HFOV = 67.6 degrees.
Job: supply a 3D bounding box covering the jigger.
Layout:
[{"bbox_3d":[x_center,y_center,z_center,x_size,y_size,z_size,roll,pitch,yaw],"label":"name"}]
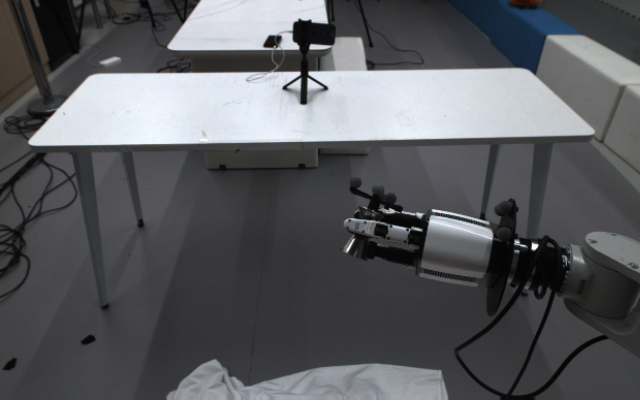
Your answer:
[{"bbox_3d":[0.058,0.045,0.680,0.043,0.071,0.043,24,-3,1],"label":"jigger"}]
